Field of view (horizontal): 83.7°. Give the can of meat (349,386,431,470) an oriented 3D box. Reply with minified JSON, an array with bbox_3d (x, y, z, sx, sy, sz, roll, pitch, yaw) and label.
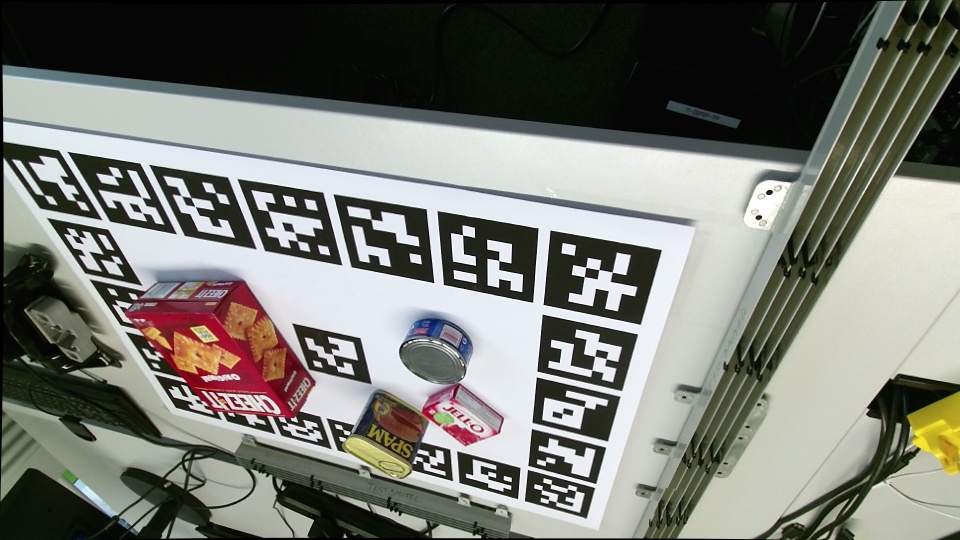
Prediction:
[{"bbox_3d":[-0.127,0.231,0.791,0.102,0.083,0.058,32,134,-9],"label":"can of meat"}]

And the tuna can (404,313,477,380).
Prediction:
[{"bbox_3d":[-0.048,0.094,0.658,0.086,0.033,0.086,10,129,12],"label":"tuna can"}]

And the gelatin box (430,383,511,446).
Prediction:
[{"bbox_3d":[-0.014,0.204,0.749,0.089,0.030,0.073,43,134,-14],"label":"gelatin box"}]

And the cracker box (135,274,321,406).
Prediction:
[{"bbox_3d":[-0.360,0.105,0.776,0.164,0.072,0.214,-1,131,24],"label":"cracker box"}]
